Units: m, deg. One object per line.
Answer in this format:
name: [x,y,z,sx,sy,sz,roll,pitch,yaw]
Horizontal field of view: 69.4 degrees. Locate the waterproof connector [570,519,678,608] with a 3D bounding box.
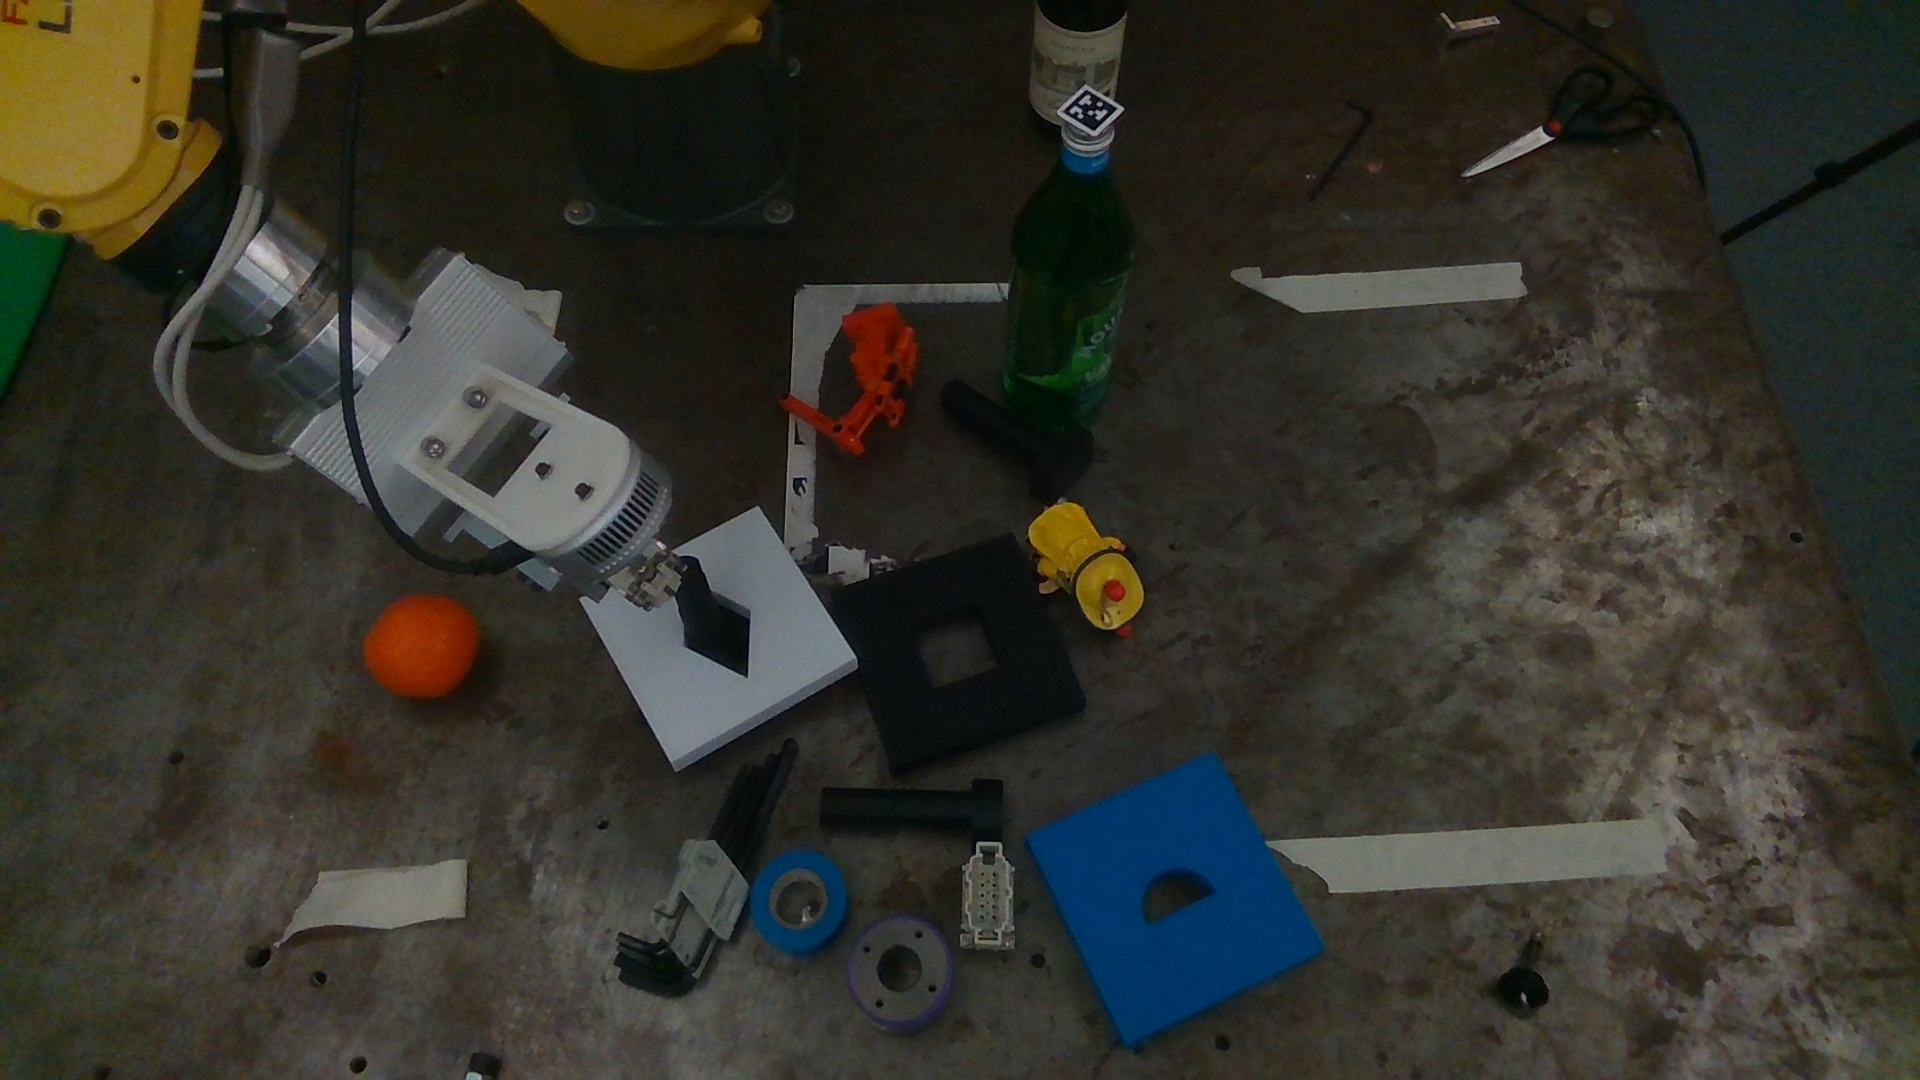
waterproof connector: [-0.180,0.014,0.754,0.069,0.038,0.036,11,64,54]
